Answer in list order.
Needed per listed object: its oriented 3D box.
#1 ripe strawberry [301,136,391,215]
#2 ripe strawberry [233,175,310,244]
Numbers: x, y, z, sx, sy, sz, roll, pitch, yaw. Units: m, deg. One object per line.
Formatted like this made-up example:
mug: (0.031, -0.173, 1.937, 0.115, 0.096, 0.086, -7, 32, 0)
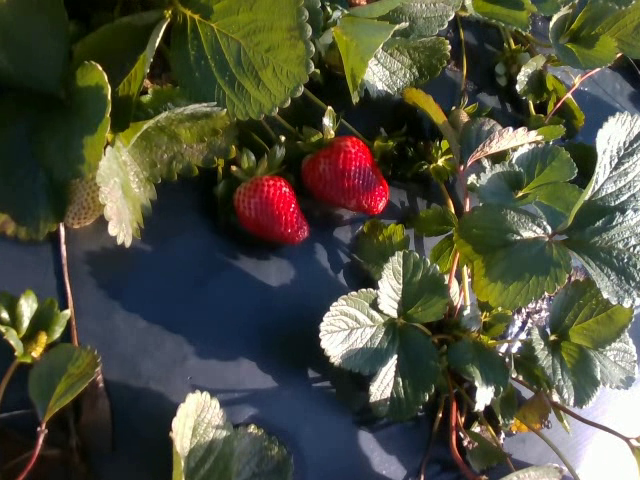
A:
ripe strawberry: (0.020, -0.034, 0.354, 0.052, 0.058, 0.046, -43, -14, -7)
ripe strawberry: (-0.024, -0.013, 0.327, 0.051, 0.043, 0.037, 40, -2, 11)
